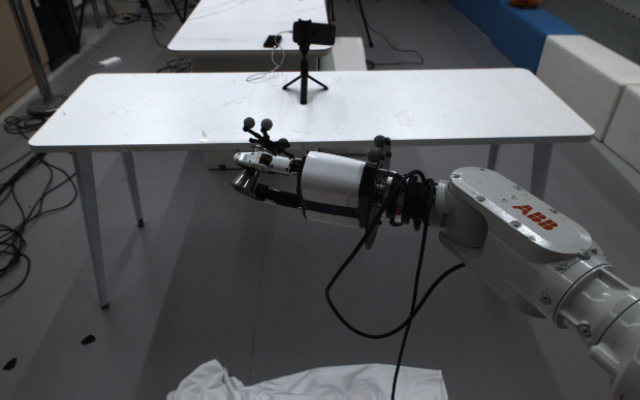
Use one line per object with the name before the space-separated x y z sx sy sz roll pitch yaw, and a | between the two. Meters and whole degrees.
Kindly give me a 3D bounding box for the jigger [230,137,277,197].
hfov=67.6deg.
jigger | -0.101 -0.046 0.715 0.043 0.043 0.071 20 74 24
